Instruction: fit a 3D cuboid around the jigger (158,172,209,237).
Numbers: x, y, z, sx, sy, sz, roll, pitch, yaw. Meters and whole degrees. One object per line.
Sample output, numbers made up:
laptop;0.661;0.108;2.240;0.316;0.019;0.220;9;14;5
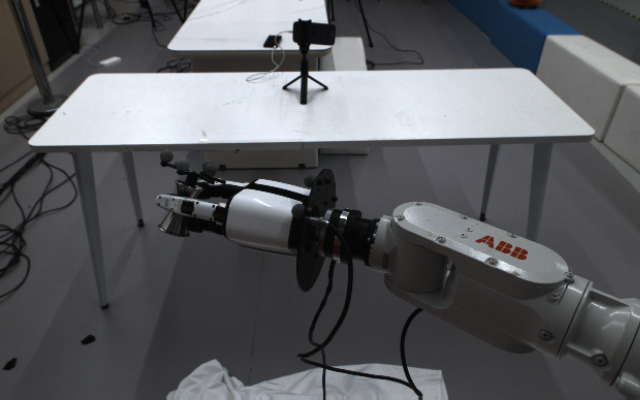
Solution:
jigger;-0.187;0.010;0.652;0.043;0.071;0.043;21;6;-2
